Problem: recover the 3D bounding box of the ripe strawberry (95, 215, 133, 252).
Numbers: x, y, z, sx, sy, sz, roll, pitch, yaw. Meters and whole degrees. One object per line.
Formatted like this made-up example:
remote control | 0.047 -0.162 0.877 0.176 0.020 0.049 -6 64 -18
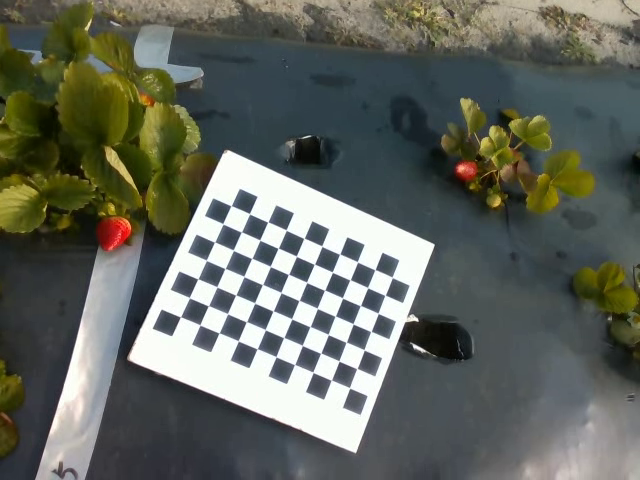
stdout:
ripe strawberry | -0.222 -0.004 0.659 0.050 0.055 0.036 20 -30 -12
